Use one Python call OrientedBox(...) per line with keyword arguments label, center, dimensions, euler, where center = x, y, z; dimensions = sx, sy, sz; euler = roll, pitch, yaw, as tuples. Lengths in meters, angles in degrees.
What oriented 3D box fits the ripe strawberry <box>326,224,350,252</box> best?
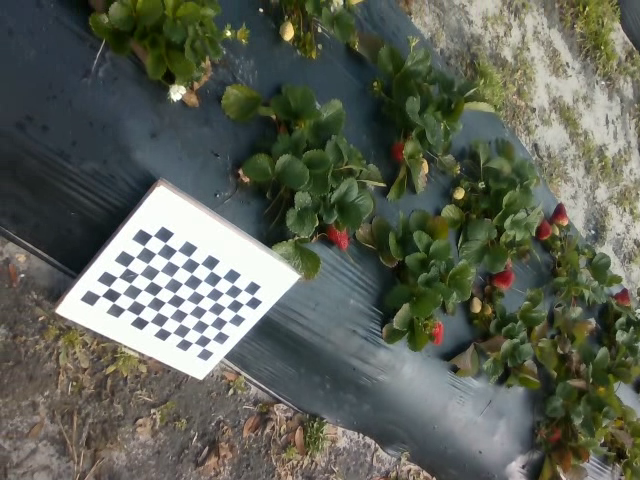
OrientedBox(label="ripe strawberry", center=(0.037, -0.007, 1.040), dimensions=(0.050, 0.064, 0.043), euler=(-21, 33, -8))
